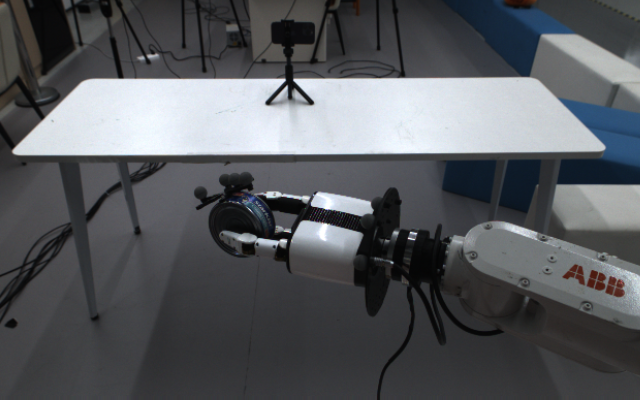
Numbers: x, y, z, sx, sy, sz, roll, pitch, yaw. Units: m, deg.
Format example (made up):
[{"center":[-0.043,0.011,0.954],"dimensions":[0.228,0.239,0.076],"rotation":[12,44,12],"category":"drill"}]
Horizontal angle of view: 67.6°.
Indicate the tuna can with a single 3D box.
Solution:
[{"center":[-0.102,0.039,0.643],"dimensions":[0.085,0.085,0.034],"rotation":[15,30,17],"category":"tuna can"}]
